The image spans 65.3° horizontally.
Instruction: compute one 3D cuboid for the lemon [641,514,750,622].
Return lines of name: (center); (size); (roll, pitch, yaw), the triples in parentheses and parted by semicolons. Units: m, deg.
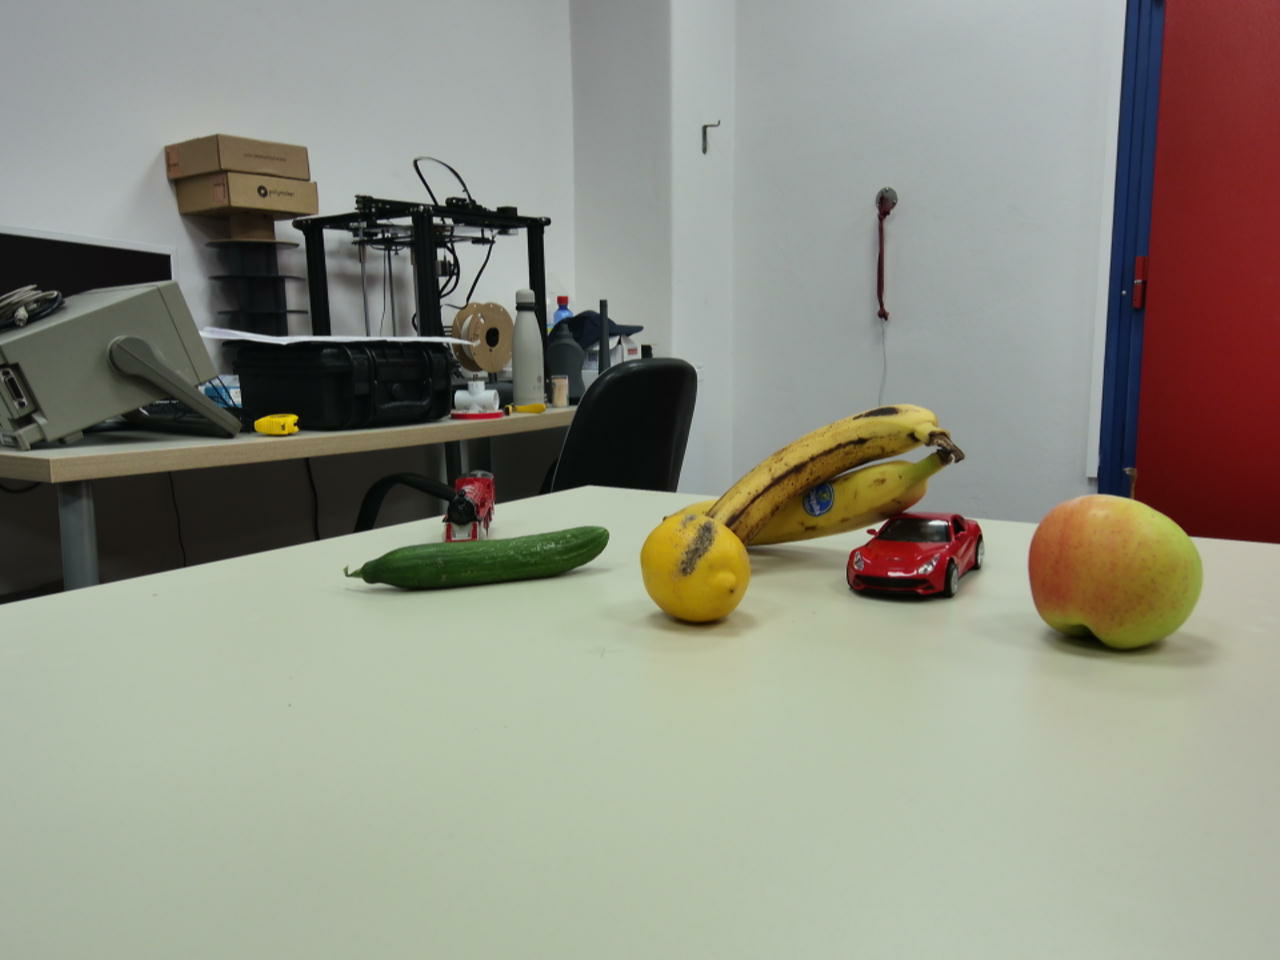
lemon: (0.030, 0.047, 0.538); (0.061, 0.056, 0.058); (3, 6, 28)
